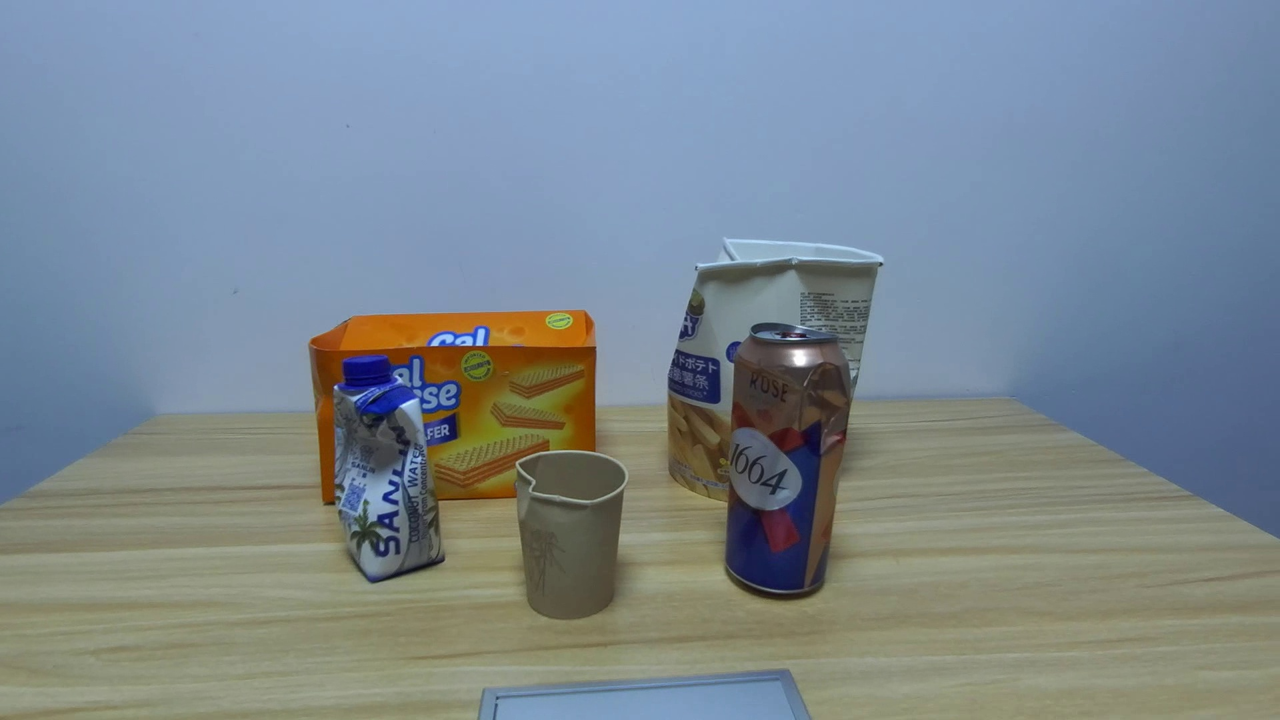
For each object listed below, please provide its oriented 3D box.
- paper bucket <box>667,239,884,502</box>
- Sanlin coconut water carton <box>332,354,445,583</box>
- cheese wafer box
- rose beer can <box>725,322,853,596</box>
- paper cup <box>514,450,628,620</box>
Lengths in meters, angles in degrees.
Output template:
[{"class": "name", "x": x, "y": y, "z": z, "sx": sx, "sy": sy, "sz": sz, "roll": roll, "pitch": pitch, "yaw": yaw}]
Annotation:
[{"class": "paper bucket", "x": 0.098, "y": 0.000, "z": 0.615, "sx": 0.169, "sy": 0.202, "sz": 0.162, "roll": -1, "pitch": 14, "yaw": -15}, {"class": "Sanlin coconut water carton", "x": -0.168, "y": 0.072, "z": 0.459, "sx": 0.057, "sy": 0.145, "sz": 0.068, "roll": -18, "pitch": 28, "yaw": -32}, {"class": "cheese wafer box", "x": -0.154, "y": 0.036, "z": 0.622, "sx": 0.231, "sy": 0.132, "sz": 0.152, "roll": 0, "pitch": 16, "yaw": -5}, {"class": "rose beer can", "x": 0.093, "y": 0.063, "z": 0.447, "sx": 0.065, "sy": 0.167, "sz": 0.075, "roll": -1, "pitch": 13, "yaw": -15}, {"class": "paper cup", "x": -0.043, "y": 0.107, "z": 0.435, "sx": 0.073, "sy": 0.081, "sz": 0.069, "roll": 4, "pitch": 14, "yaw": 12}]
